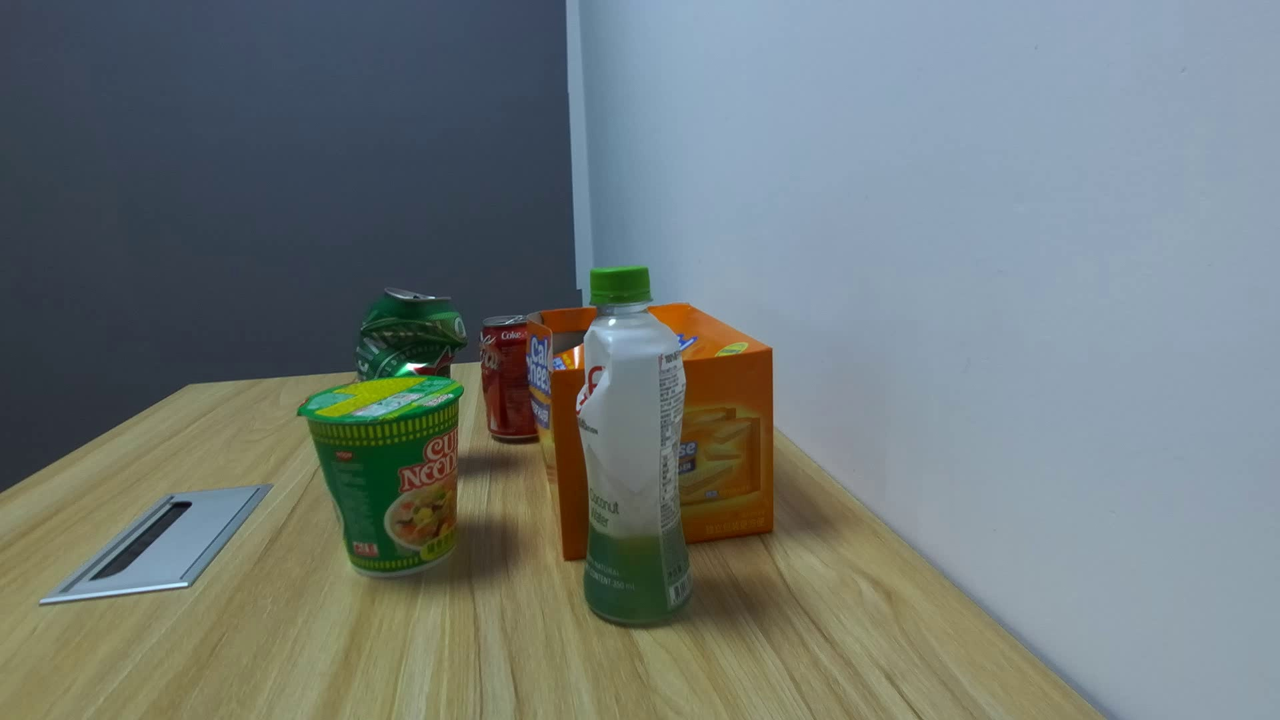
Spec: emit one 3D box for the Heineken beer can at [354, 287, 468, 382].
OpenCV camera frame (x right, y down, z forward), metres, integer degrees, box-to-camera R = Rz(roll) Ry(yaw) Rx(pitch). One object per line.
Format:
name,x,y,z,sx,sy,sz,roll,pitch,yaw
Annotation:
Heineken beer can,-0.193,0.023,0.588,0.079,0.159,0.067,-2,10,-33

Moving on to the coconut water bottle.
coconut water bottle,-0.006,0.044,0.383,0.069,0.186,0.069,-3,13,1

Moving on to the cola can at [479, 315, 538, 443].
cola can,-0.117,0.018,0.680,0.066,0.117,0.065,-5,6,-18

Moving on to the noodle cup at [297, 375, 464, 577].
noodle cup,-0.157,0.074,0.454,0.097,0.110,0.097,-2,15,1

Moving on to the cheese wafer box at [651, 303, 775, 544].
cheese wafer box,-0.002,0.041,0.553,0.152,0.132,0.230,-6,13,-10
